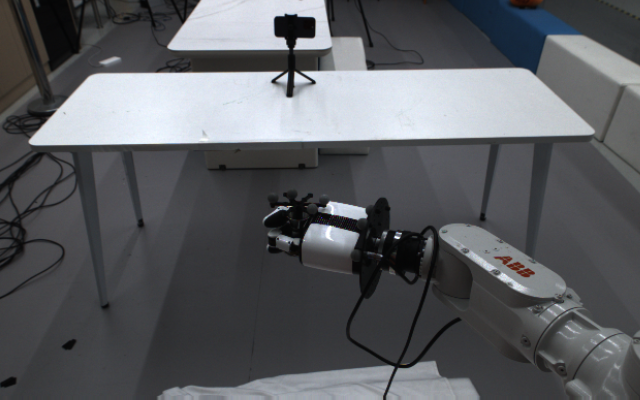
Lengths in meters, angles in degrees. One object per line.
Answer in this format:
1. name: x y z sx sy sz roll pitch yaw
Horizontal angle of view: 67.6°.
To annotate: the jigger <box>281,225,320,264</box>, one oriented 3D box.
1. jigger: -0.033 0.051 0.792 0.043 0.071 0.043 3 25 -1
